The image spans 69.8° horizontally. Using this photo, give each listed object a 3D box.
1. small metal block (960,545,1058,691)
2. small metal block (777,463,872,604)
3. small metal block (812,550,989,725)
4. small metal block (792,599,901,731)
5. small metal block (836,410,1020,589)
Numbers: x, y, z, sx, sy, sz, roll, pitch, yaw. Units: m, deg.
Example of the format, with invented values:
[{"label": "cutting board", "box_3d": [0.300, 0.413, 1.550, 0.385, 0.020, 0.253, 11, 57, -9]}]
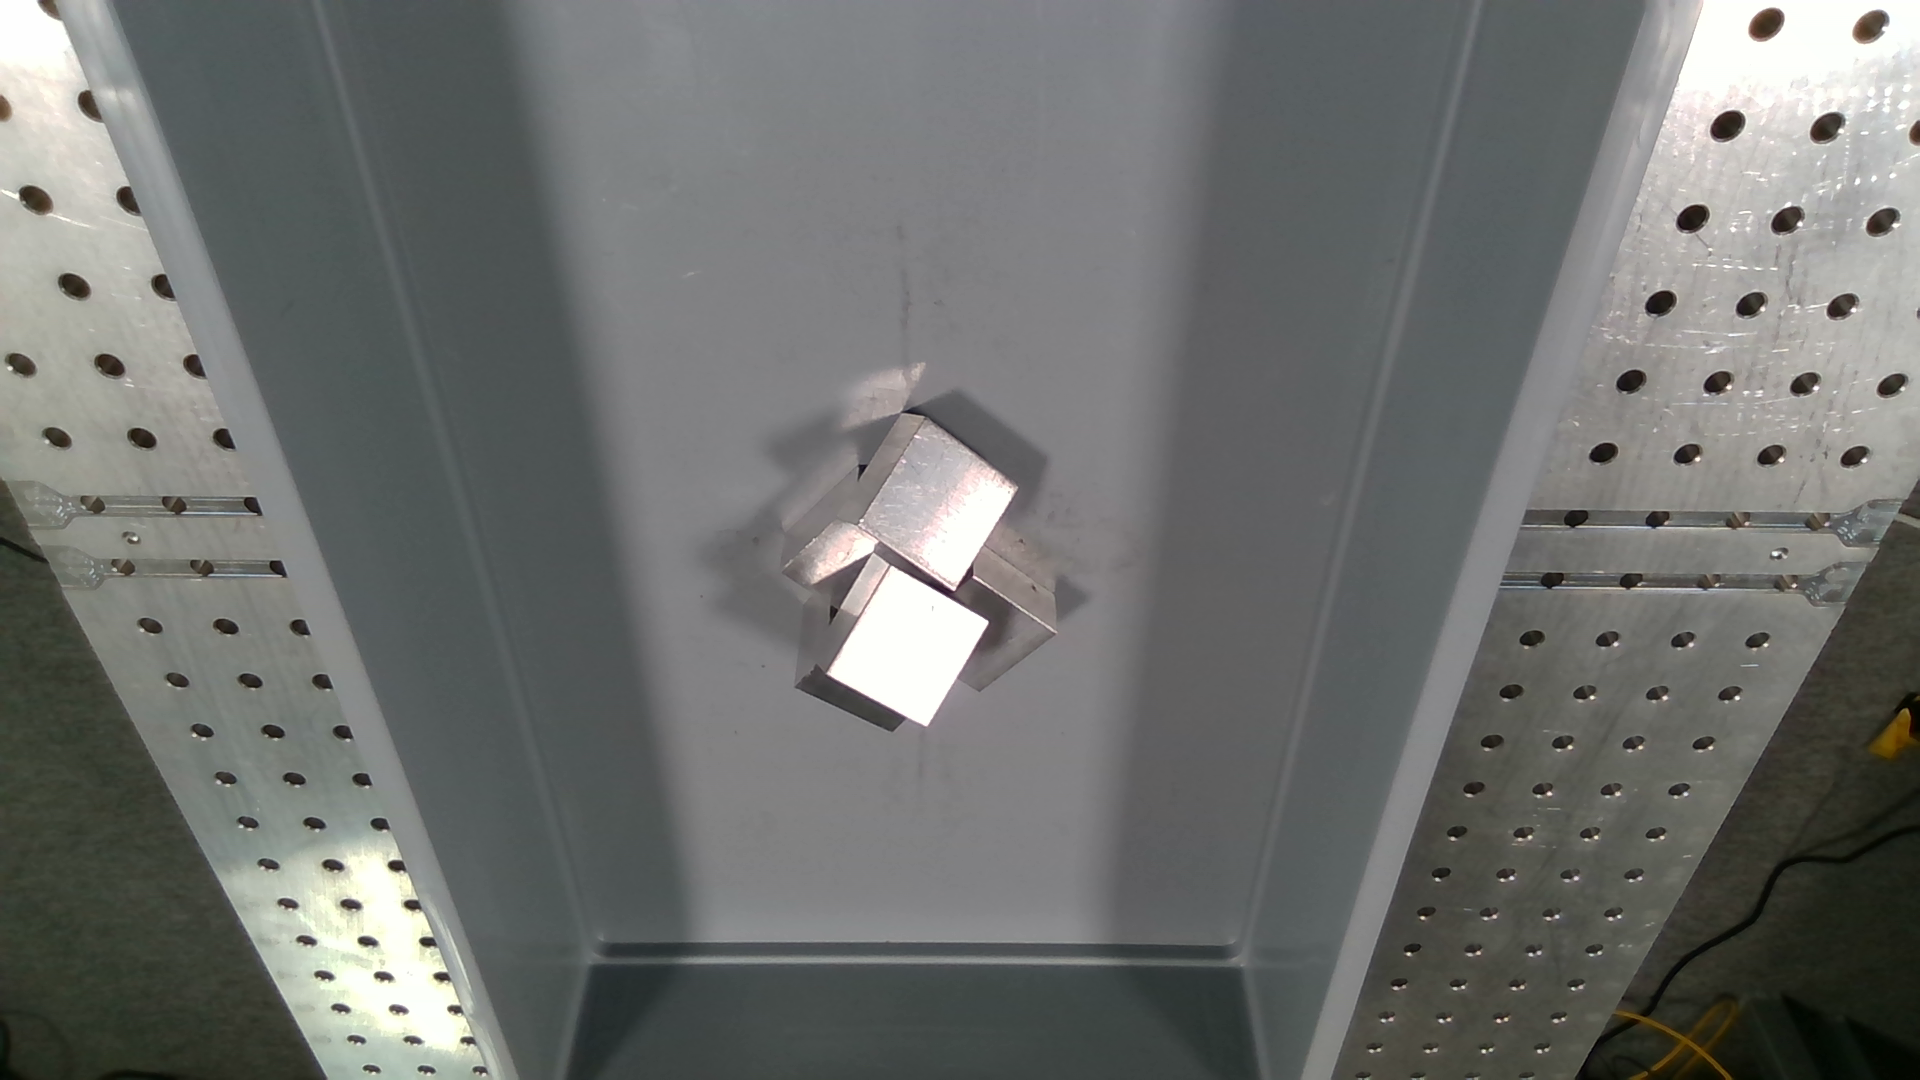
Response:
[{"label": "small metal block", "box_3d": [0.007, 0.033, 0.605, 0.050, 0.025, 0.050, 35, 122, -26]}, {"label": "small metal block", "box_3d": [-0.041, 0.003, 0.580, 0.050, 0.025, 0.050, 35, 122, -26]}, {"label": "small metal block", "box_3d": [-0.025, 0.040, 0.563, 0.050, 0.025, 0.050, 31, 90, -23]}, {"label": "small metal block", "box_3d": [-0.043, 0.048, 0.602, 0.050, 0.050, 0.025, 28, 124, -22]}, {"label": "small metal block", "box_3d": [-0.013, -0.017, 0.548, 0.050, 0.025, 0.050, 35, 83, -25]}]
